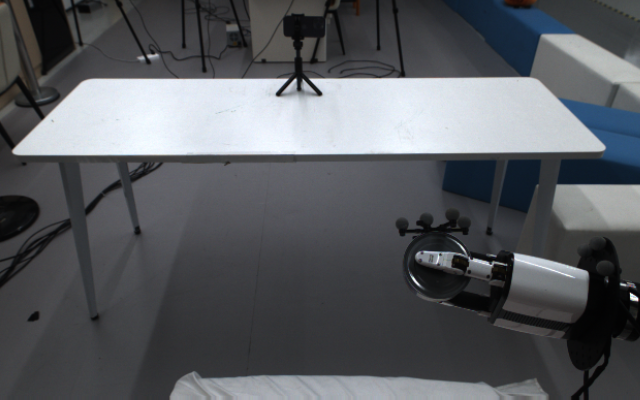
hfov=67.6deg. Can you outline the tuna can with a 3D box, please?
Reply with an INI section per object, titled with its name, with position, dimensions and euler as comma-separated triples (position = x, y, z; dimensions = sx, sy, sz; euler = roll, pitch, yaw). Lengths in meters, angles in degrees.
[tuna can]
position = 0.149, 0.082, 0.613
dimensions = 0.085, 0.034, 0.085
euler = -3, 66, 7
